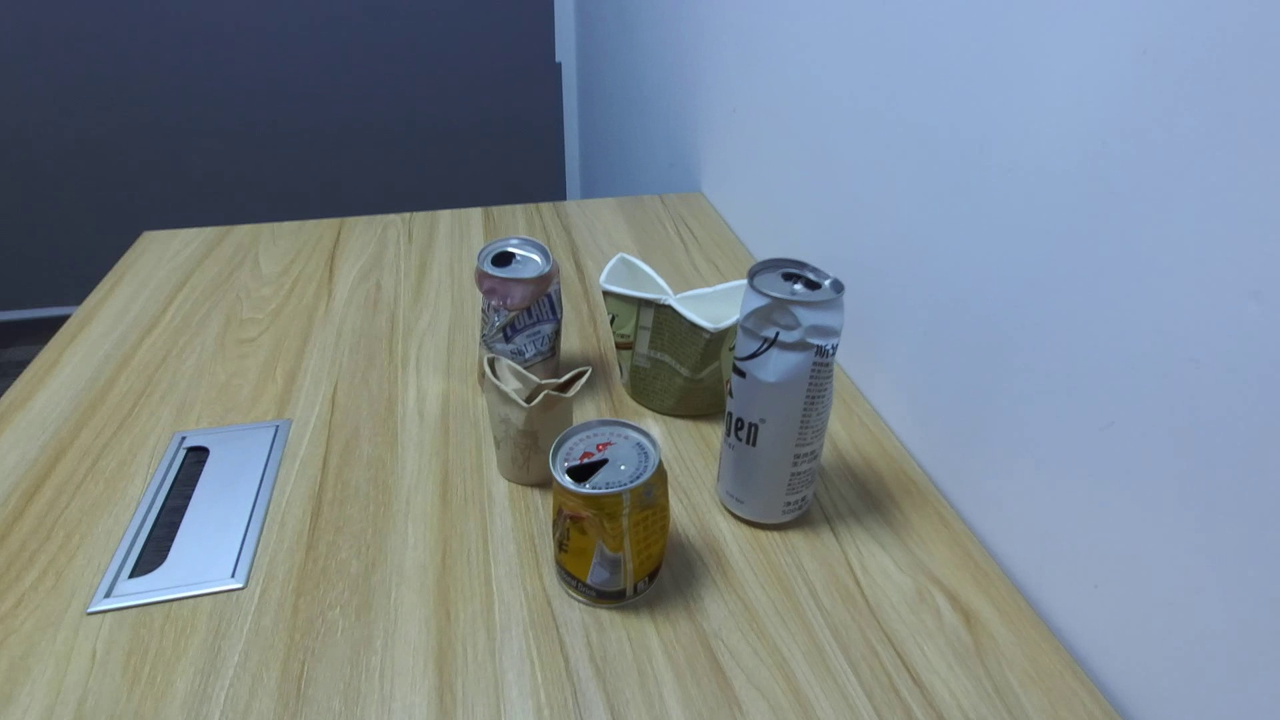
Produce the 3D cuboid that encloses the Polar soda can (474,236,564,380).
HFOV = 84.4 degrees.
[{"bbox_3d":[-0.096,-0.027,0.553,0.066,0.122,0.071,6,34,0],"label":"Polar soda can"}]

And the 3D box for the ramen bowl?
[{"bbox_3d":[0.035,-0.025,0.563,0.128,0.093,0.112,23,41,29],"label":"ramen bowl"}]

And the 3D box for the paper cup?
[{"bbox_3d":[-0.070,0.038,0.480,0.058,0.083,0.066,-21,39,-39],"label":"paper cup"}]

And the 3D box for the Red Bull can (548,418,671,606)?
[{"bbox_3d":[-0.019,0.086,0.404,0.072,0.092,0.072,1,36,0],"label":"Red Bull can"}]

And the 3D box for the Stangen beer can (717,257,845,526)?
[{"bbox_3d":[0.085,0.024,0.433,0.066,0.166,0.066,15,36,20],"label":"Stangen beer can"}]
